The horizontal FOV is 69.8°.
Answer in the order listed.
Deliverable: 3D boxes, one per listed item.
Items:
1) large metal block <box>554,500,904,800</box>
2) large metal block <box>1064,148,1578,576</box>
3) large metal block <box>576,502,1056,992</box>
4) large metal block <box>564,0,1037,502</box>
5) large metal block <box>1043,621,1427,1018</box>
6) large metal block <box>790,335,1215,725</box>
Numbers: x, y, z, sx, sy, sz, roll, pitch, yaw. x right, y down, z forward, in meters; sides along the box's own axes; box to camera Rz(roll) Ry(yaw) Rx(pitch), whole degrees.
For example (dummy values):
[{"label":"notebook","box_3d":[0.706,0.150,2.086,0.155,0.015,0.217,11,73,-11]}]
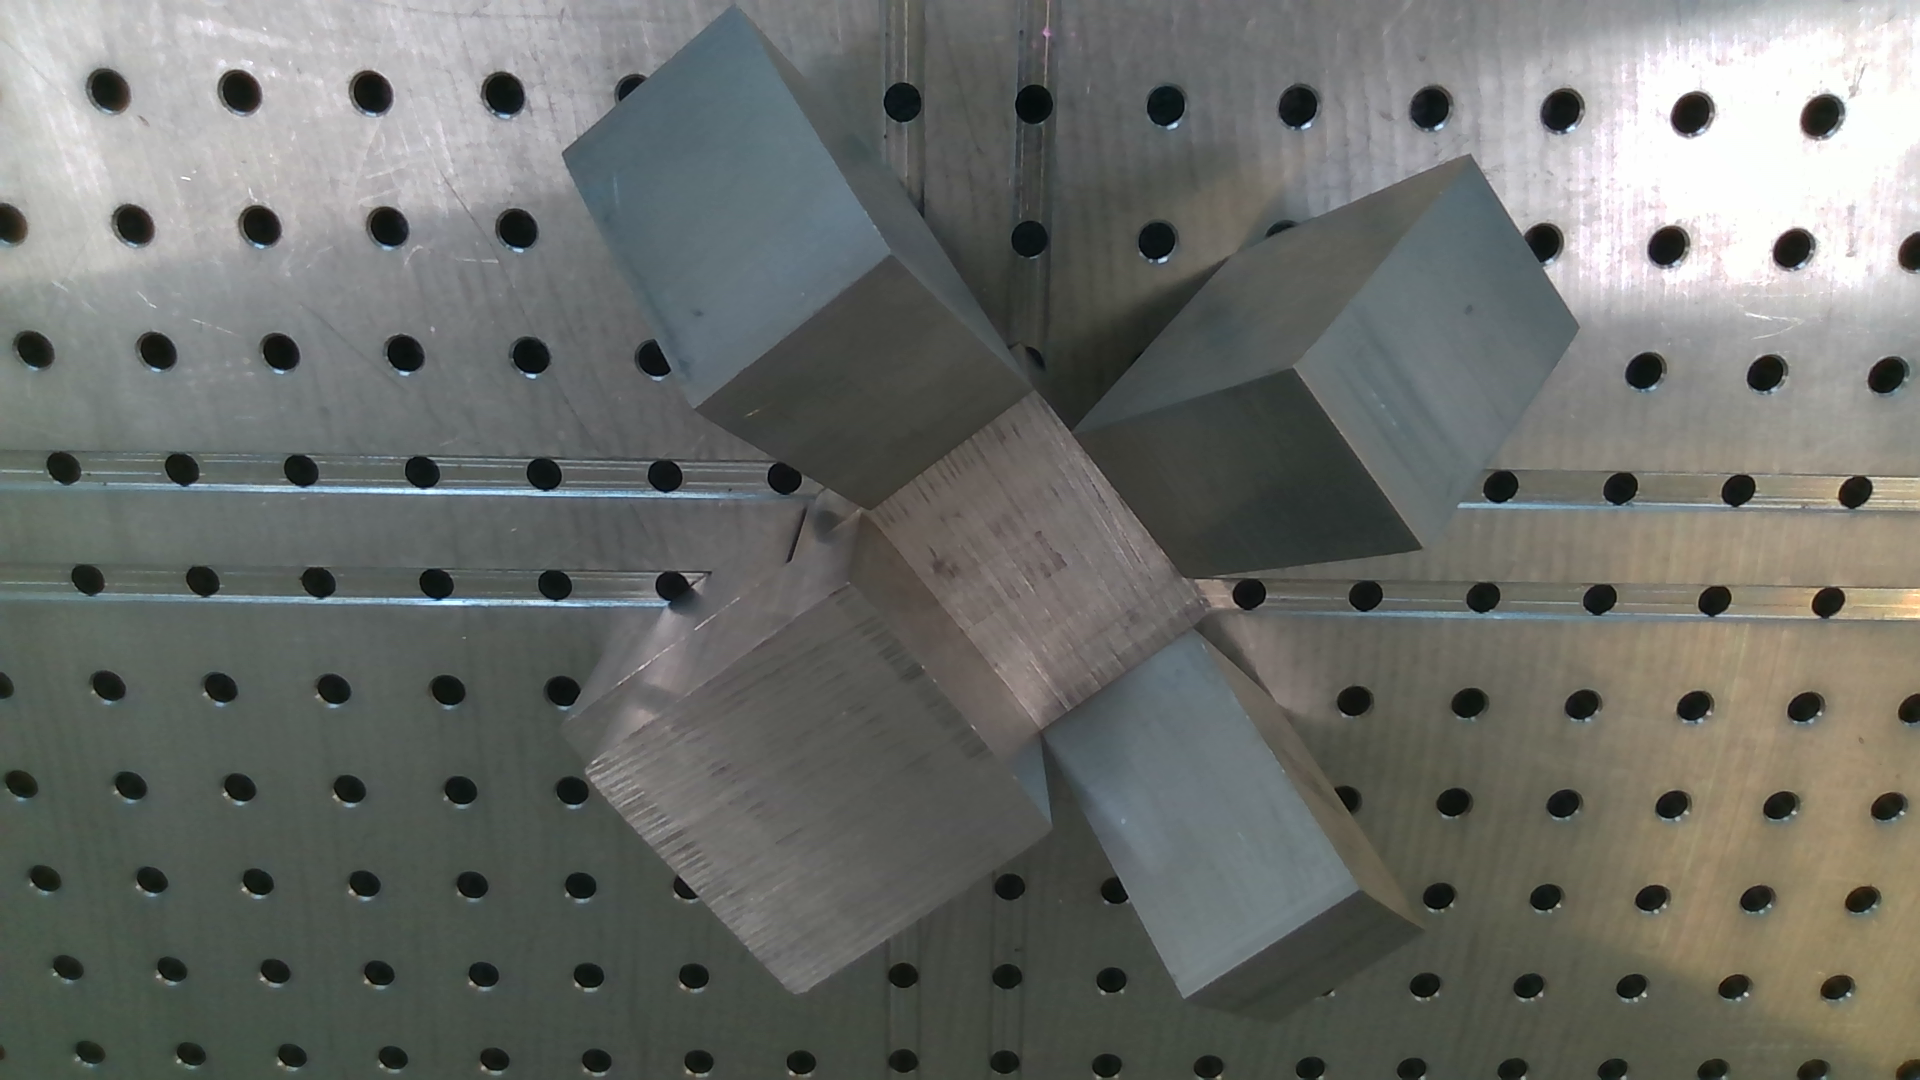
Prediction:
[{"label":"large metal block","box_3d":[-0.054,0.049,0.400,0.080,0.050,0.080,-35,107,11]},{"label":"large metal block","box_3d":[0.086,-0.040,0.335,0.080,0.080,0.050,-47,107,-26]},{"label":"large metal block","box_3d":[-0.033,0.052,0.347,0.080,0.050,0.080,-35,107,13]},{"label":"large metal block","box_3d":[-0.035,-0.065,0.326,0.050,0.080,0.080,-37,64,11]},{"label":"large metal block","box_3d":[0.076,0.079,0.379,0.050,0.080,0.080,-37,146,12]},{"label":"large metal block","box_3d":[0.011,0.004,0.384,0.080,0.050,0.080,-37,106,12]}]
